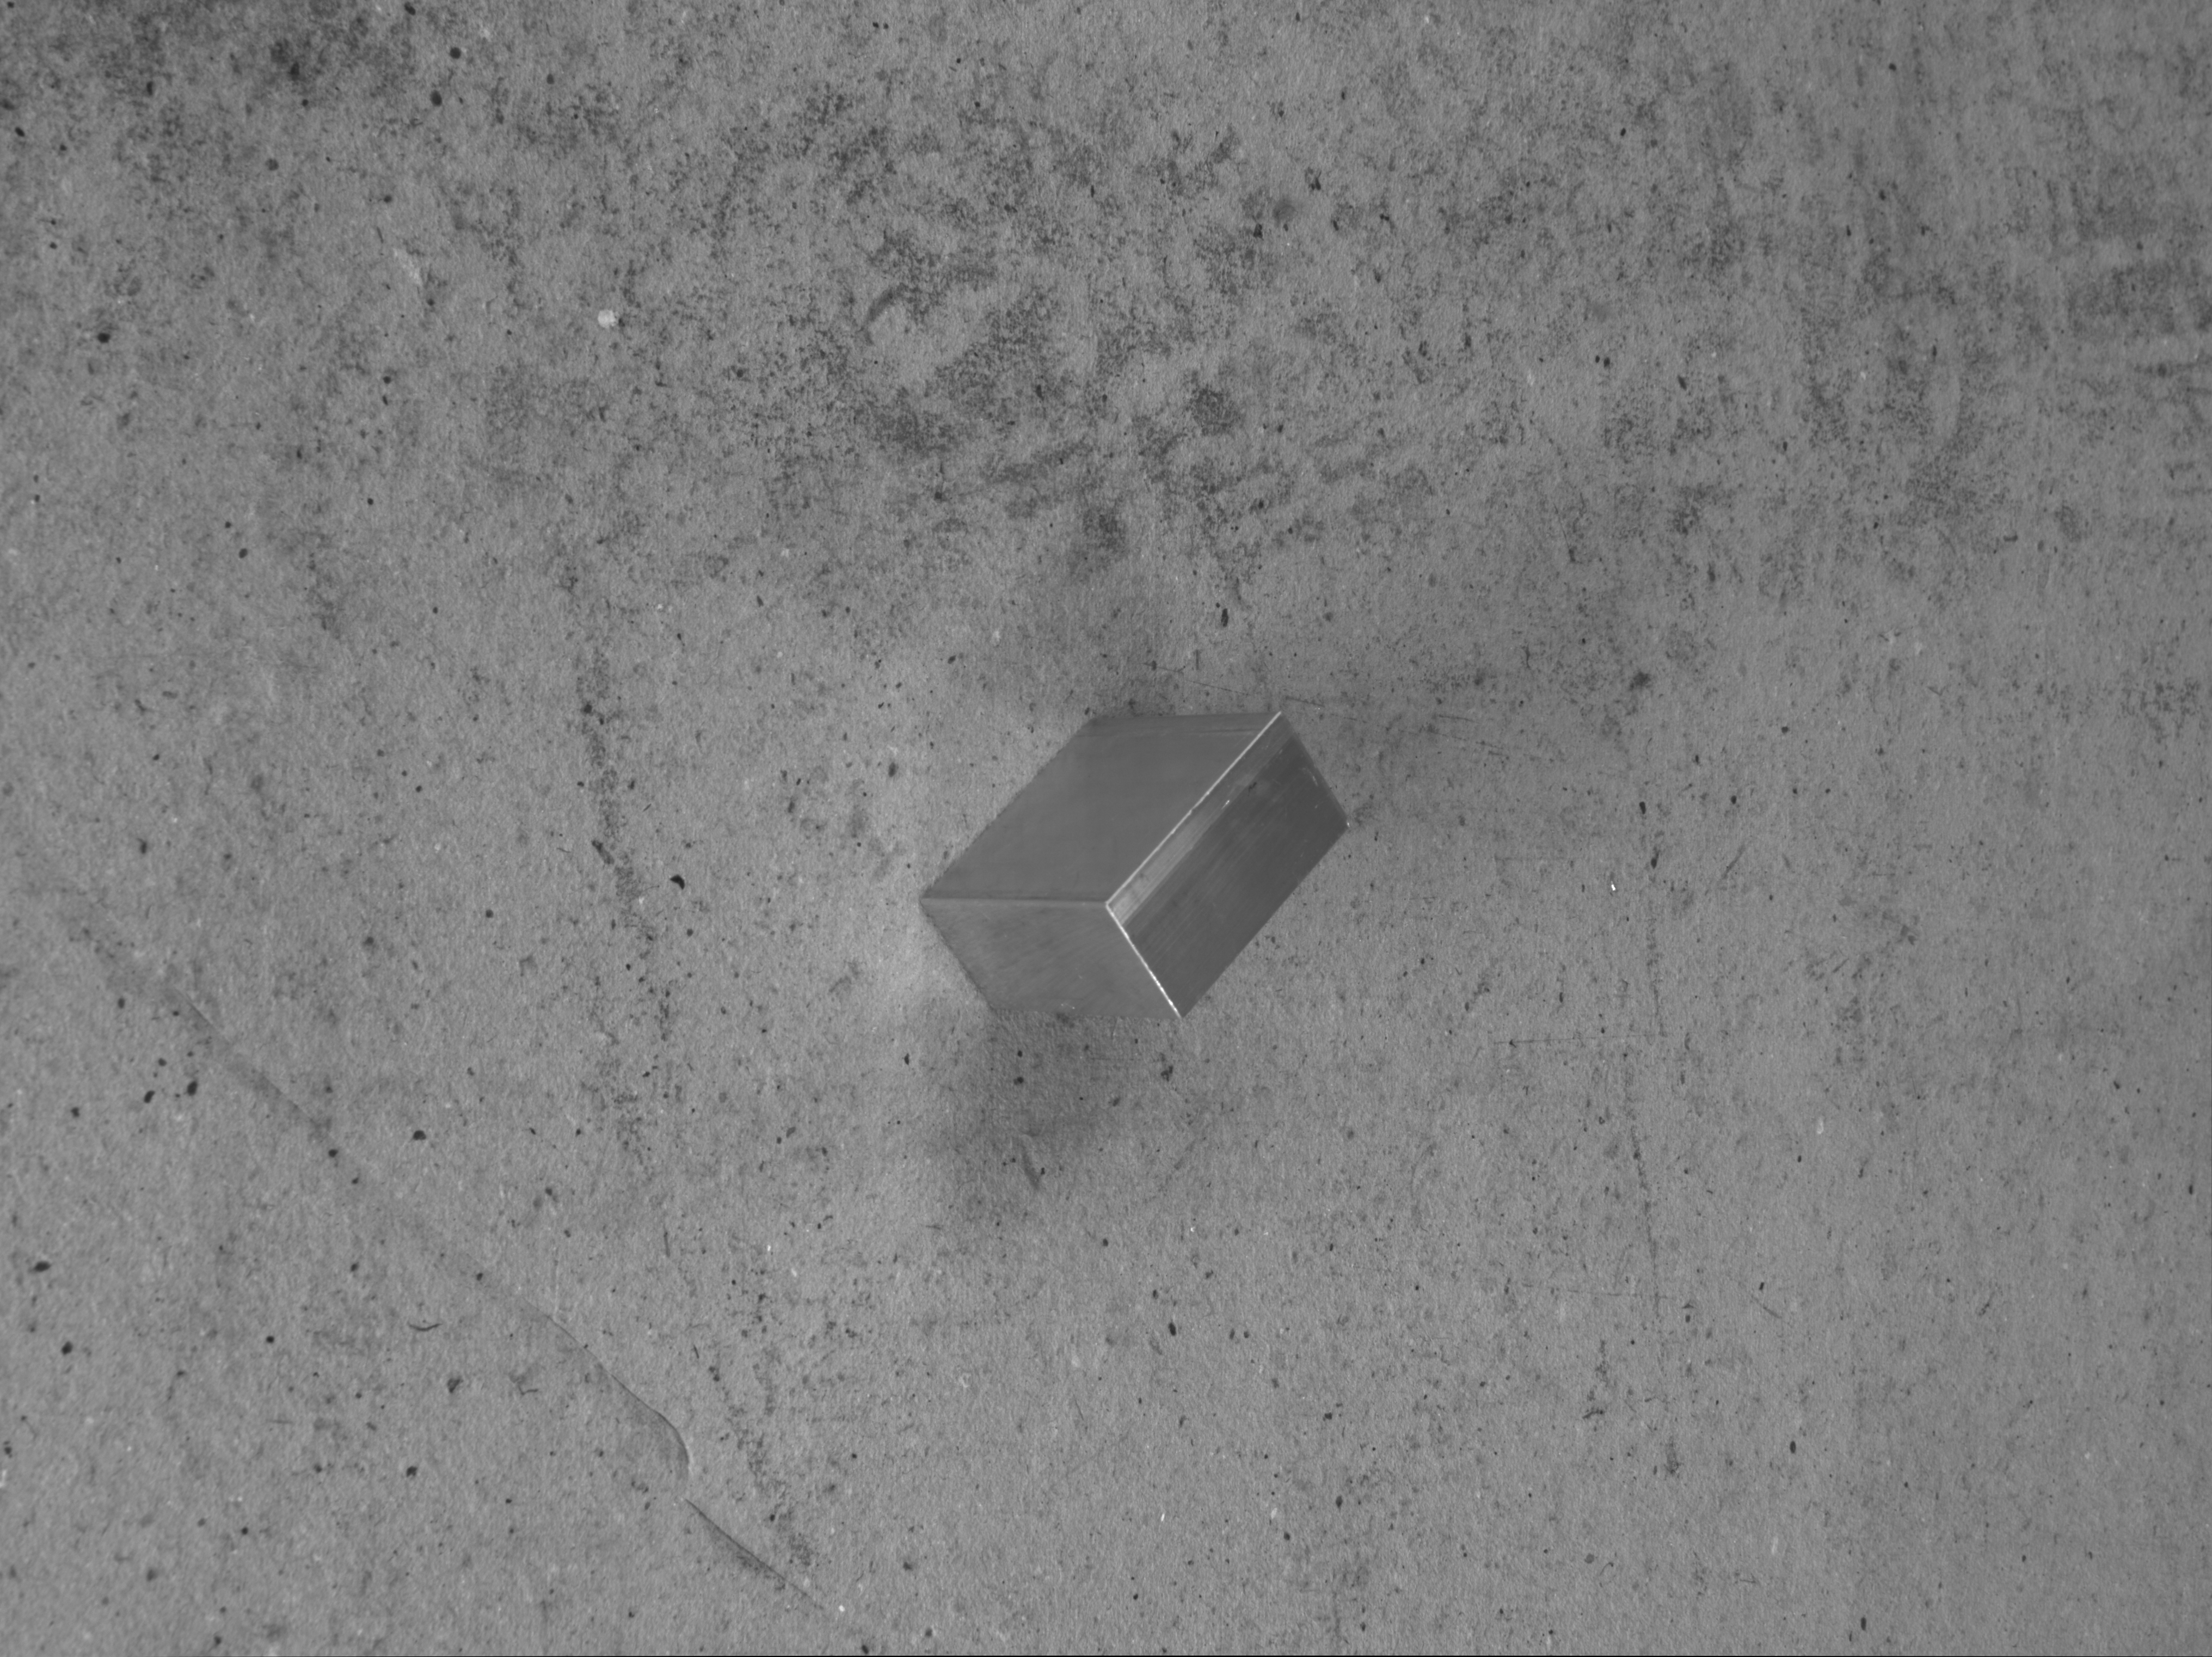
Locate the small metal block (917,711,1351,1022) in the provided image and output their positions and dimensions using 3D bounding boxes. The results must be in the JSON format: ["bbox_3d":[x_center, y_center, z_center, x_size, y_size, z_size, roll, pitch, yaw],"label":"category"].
[{"bbox_3d":[0.005,0.006,0.624,0.050,0.050,0.025,-47,118,-30],"label":"small metal block"}]
